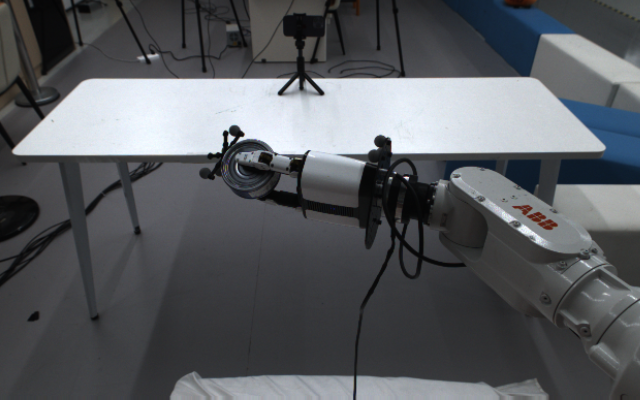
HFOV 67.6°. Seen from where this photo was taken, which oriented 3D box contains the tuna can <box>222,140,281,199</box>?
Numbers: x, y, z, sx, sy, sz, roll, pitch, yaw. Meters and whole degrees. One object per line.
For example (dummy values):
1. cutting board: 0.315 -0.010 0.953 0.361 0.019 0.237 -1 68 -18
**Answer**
1. tuna can: -0.100 -0.043 0.719 0.085 0.034 0.085 -1 74 5
